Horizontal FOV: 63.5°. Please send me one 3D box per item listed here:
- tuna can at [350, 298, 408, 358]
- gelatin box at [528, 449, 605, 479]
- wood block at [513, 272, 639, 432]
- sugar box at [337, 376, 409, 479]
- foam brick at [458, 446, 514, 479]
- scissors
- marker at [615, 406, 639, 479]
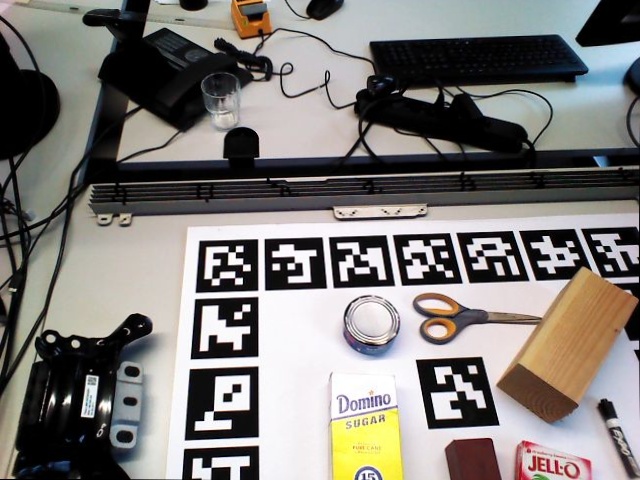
[{"bbox_3d":[0.088,0.134,0.786,0.086,0.034,0.085,0,57,0],"label":"tuna can"},{"bbox_3d":[0.318,0.321,0.670,0.089,0.030,0.073,14,58,9],"label":"gelatin box"},{"bbox_3d":[0.382,0.159,0.745,0.090,0.091,0.205,36,63,22],"label":"wood block"},{"bbox_3d":[0.070,0.274,0.691,0.093,0.045,0.175,2,57,0],"label":"sugar box"},{"bbox_3d":[0.213,0.308,0.660,0.053,0.051,0.077,0,57,0],"label":"foam brick"},{"bbox_3d":[0.261,0.128,0.805,0.203,0.016,0.087,3,57,4],"label":"scissors"},{"bbox_3d":[0.425,0.286,0.698,0.020,0.020,0.120,-1,59,-1],"label":"marker"}]
